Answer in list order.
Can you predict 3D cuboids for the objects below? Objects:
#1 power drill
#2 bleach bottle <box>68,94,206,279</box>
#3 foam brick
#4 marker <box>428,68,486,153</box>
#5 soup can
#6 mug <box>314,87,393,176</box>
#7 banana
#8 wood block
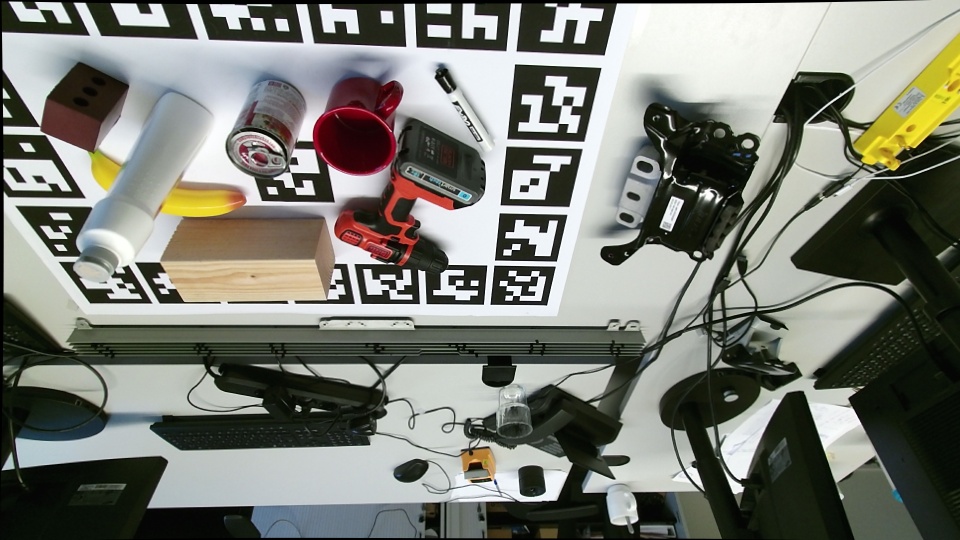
[{"bbox_3d":[-0.103,-0.081,0.752,0.185,0.057,0.187,24,131,-21],"label":"power drill"},{"bbox_3d":[-0.375,-0.087,0.586,0.068,0.249,0.103,22,132,-24],"label":"bleach bottle"},{"bbox_3d":[-0.456,-0.182,0.609,0.053,0.077,0.051,25,132,-29],"label":"foam brick"},{"bbox_3d":[-0.028,-0.195,0.660,0.020,0.019,0.121,-23,132,16],"label":"marker"},{"bbox_3d":[-0.251,-0.156,0.618,0.068,0.101,0.068,0,140,0],"label":"soup can"},{"bbox_3d":[-0.143,-0.169,0.631,0.117,0.081,0.093,-37,125,26],"label":"mug"},{"bbox_3d":[-0.419,-0.089,0.729,0.198,0.038,0.074,13,120,-13],"label":"banana"},{"bbox_3d":[-0.341,-0.011,0.783,0.207,0.090,0.090,0,135,-3],"label":"wood block"}]
